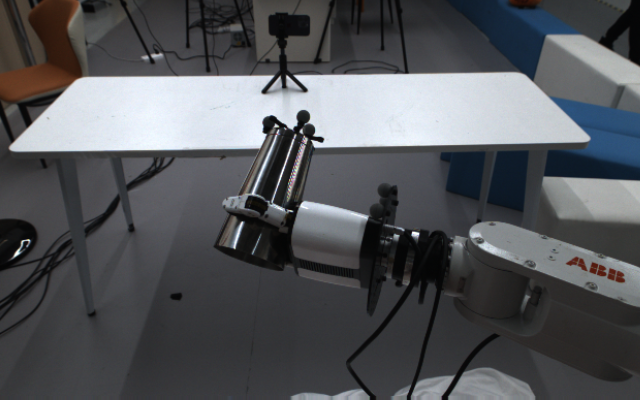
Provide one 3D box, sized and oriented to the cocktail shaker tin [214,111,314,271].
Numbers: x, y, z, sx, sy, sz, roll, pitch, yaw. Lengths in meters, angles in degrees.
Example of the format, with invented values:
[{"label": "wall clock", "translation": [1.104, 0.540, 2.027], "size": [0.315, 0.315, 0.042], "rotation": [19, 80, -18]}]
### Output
[{"label": "cocktail shaker tin", "translation": [-0.066, -0.004, 0.624], "size": [0.093, 0.093, 0.170], "rotation": [14, 72, 17]}]
